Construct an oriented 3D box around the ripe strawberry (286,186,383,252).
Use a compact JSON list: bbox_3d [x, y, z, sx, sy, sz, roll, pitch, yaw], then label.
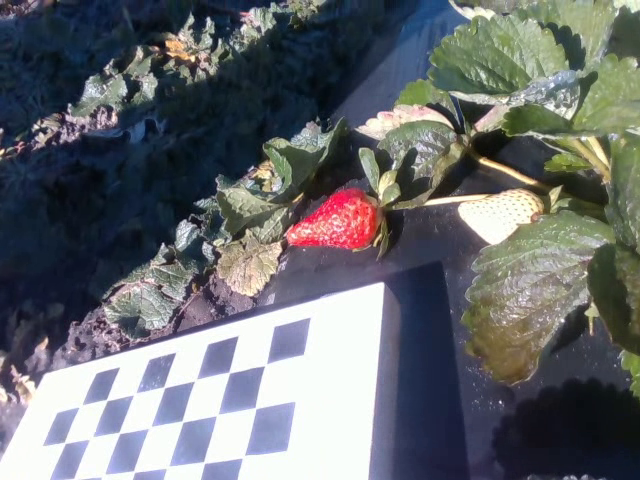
[{"bbox_3d":[0.007,-0.010,0.366,0.068,0.040,0.048,-25,36,10],"label":"ripe strawberry"}]
